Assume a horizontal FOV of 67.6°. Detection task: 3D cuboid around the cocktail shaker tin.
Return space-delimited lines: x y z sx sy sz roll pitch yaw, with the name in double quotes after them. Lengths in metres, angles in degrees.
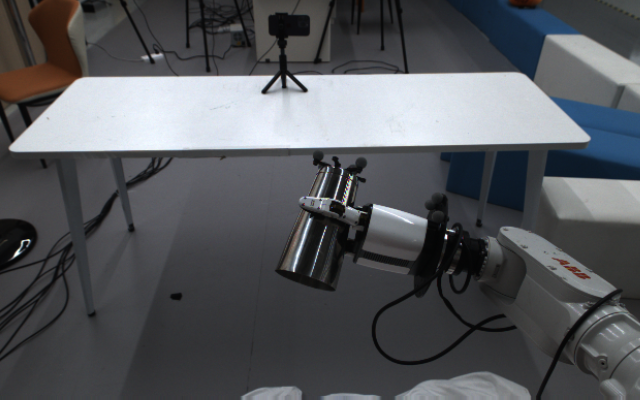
0.002 0.038 0.717 0.093 0.093 0.170 13 70 15 "cocktail shaker tin"
